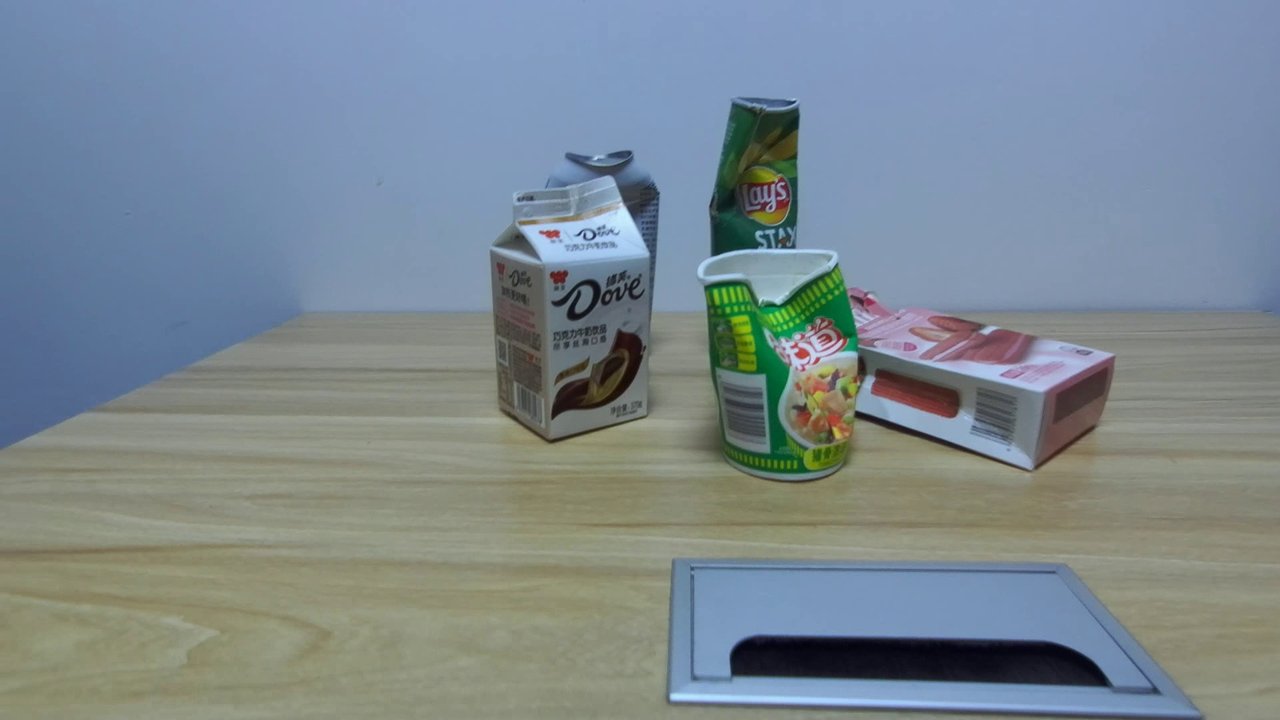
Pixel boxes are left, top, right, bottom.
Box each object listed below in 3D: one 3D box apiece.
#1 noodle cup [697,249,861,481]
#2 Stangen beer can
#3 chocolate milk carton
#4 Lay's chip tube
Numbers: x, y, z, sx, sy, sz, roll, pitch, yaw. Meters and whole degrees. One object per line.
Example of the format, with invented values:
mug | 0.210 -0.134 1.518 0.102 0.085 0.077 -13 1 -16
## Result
noodle cup | 0.079 0.000 0.382 0.083 0.122 0.075 -11 10 -1
Stangen beer can | -0.028 -0.081 0.559 0.065 0.162 0.077 16 28 35
chocolate milk carton | -0.043 -0.036 0.439 0.076 0.148 0.073 -12 22 -33
Lay's chip tube | 0.090 -0.099 0.551 0.069 0.201 0.077 0 19 5
